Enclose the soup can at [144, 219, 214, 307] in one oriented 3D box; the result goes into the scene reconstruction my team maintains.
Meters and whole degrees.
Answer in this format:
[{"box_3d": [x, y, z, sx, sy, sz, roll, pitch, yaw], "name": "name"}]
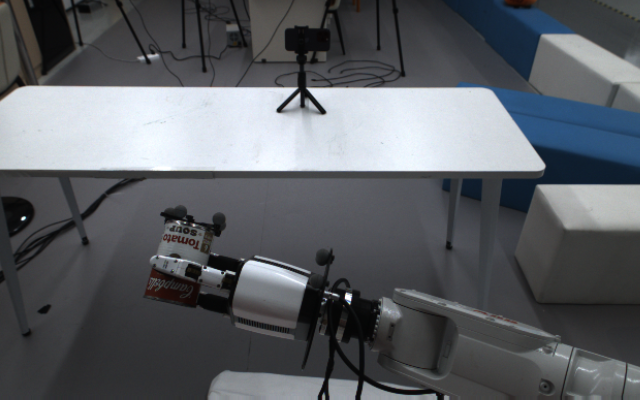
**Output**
[{"box_3d": [-0.181, 0.086, 0.630, 0.067, 0.067, 0.101, 8, 74, 9], "name": "soup can"}]
